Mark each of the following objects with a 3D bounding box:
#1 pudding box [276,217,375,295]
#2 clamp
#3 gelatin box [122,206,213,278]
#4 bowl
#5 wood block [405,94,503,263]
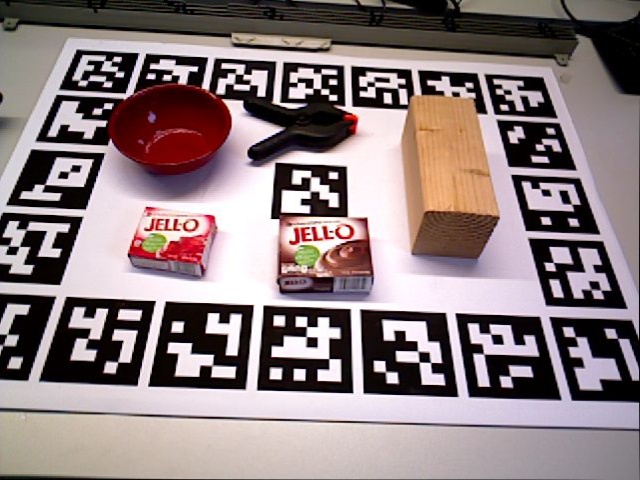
[{"bbox_3d":[0.006,0.019,0.645,0.113,0.039,0.089,1,59,-1],"label":"pudding box"},{"bbox_3d":[-0.043,-0.161,0.776,0.163,0.037,0.120,-5,56,-10],"label":"clamp"},{"bbox_3d":[-0.179,0.001,0.647,0.089,0.031,0.072,9,57,2],"label":"gelatin box"},{"bbox_3d":[-0.203,-0.142,0.738,0.160,0.056,0.159,2,58,-4],"label":"bowl"},{"bbox_3d":[0.166,-0.083,0.693,0.089,0.093,0.203,5,55,-2],"label":"wood block"}]
